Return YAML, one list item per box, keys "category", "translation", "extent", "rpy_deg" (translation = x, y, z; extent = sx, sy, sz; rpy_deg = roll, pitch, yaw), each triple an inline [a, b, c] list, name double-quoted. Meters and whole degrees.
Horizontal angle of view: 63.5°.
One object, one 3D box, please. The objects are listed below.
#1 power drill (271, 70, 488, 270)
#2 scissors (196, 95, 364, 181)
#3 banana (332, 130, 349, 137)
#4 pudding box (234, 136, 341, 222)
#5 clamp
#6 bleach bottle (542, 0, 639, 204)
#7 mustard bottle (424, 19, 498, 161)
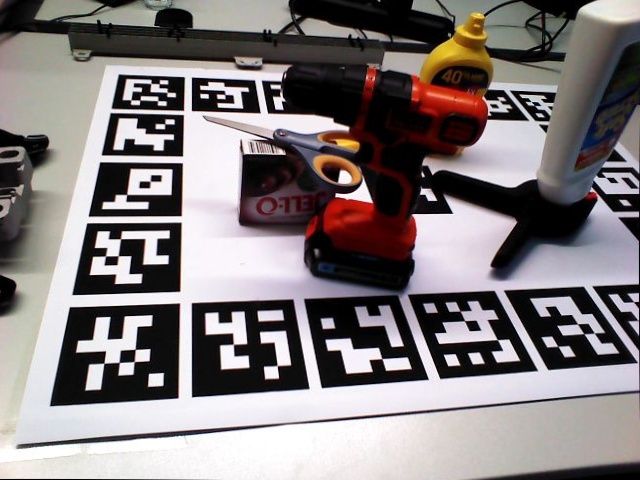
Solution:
- category: "power drill"
  translation: [0.043, -0.063, 0.485]
  extent: [0.185, 0.188, 0.057]
  rpy_deg: [7, 37, 0]
- category: "scissors"
  translation: [-0.039, -0.118, 0.543]
  extent: [0.203, 0.016, 0.087]
  rpy_deg: [20, 49, 3]
- category: "banana"
  translation: [0.067, -0.161, 0.729]
  extent: [0.074, 0.039, 0.196]
  rpy_deg: [23, 43, 36]
- category: "pudding box"
  translation: [-0.038, -0.068, 0.584]
  extent: [0.114, 0.090, 0.038]
  rpy_deg: [3, 38, -9]
- category: "clamp"
  translation: [0.272, -0.048, 0.643]
  extent: [0.202, 0.037, 0.165]
  rpy_deg: [-4, 48, -17]
- category: "bleach bottle"
  translation: [0.319, -0.133, 0.587]
  extent: [0.102, 0.252, 0.068]
  rpy_deg: [-19, 48, -19]
- category: "mustard bottle"
  translation: [0.185, -0.198, 0.695]
  extent: [0.096, 0.192, 0.058]
  rpy_deg: [10, 44, -2]
